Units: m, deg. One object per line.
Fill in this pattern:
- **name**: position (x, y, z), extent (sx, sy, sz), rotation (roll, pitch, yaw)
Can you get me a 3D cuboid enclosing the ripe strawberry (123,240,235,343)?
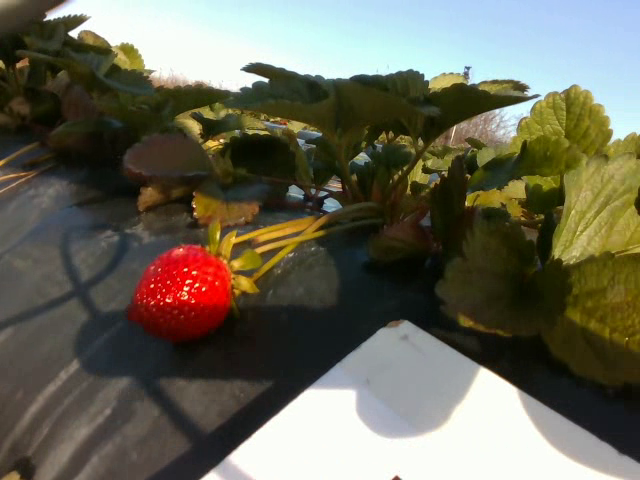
- **ripe strawberry**: position (-0.051, 0.020, 0.219), extent (0.040, 0.037, 0.044), rotation (11, 30, 31)
